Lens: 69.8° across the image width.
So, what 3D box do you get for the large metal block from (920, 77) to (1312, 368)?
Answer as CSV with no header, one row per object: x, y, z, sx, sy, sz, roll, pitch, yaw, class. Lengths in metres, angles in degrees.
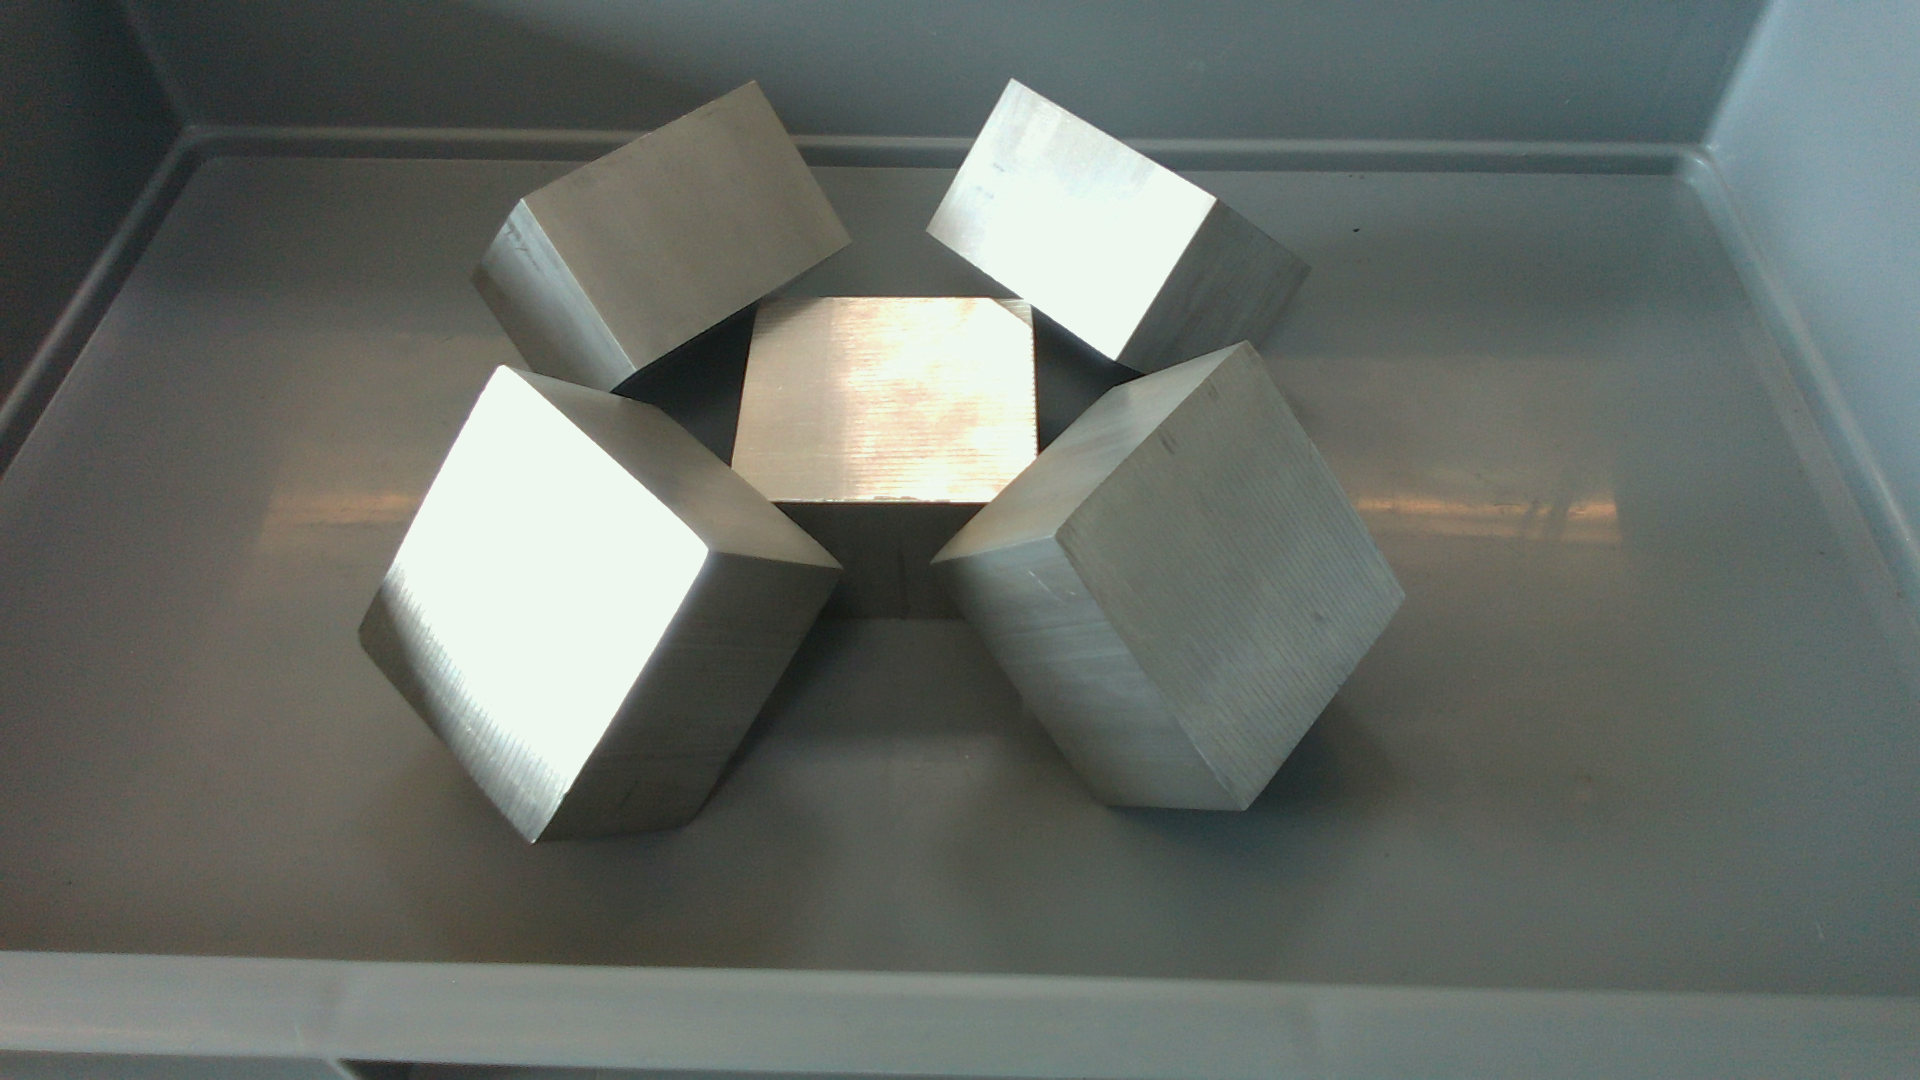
0.049,-0.090,0.422,0.080,0.050,0.080,39,17,29,large metal block

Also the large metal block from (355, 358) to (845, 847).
-0.088,0.015,0.334,0.080,0.050,0.080,38,104,28,large metal block

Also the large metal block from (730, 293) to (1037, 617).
-0.019,-0.025,0.394,0.080,0.050,0.080,1,50,1,large metal block

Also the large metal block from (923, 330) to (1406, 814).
0.052,0.009,0.338,0.080,0.050,0.080,-44,107,-31,large metal block

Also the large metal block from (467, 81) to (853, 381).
-0.092,-0.085,0.415,0.080,0.080,0.050,-38,103,-28,large metal block
